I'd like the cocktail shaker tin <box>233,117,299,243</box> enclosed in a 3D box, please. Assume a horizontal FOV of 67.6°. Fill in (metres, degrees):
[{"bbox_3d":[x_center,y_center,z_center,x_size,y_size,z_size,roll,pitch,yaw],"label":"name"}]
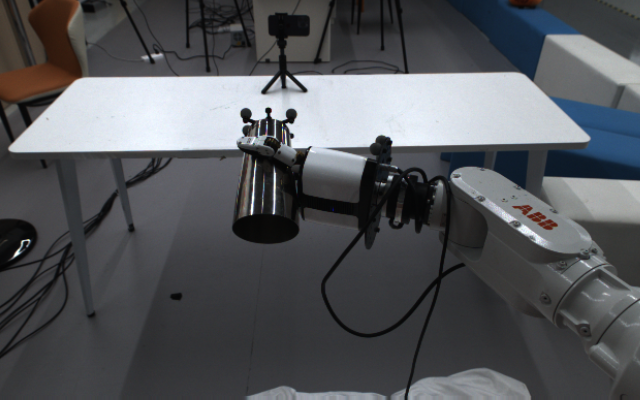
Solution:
[{"bbox_3d":[-0.078,-0.033,0.701,0.093,0.093,0.170,0,59,-3],"label":"cocktail shaker tin"}]
